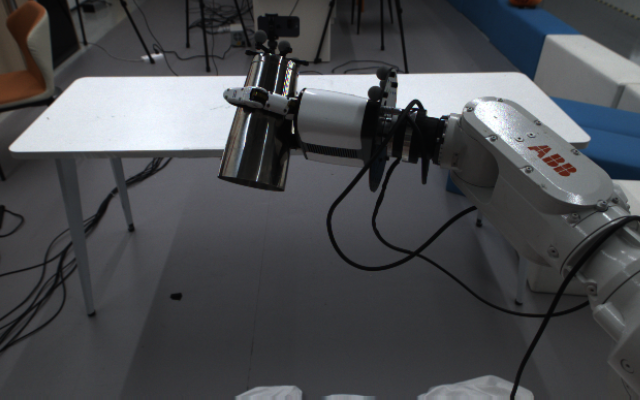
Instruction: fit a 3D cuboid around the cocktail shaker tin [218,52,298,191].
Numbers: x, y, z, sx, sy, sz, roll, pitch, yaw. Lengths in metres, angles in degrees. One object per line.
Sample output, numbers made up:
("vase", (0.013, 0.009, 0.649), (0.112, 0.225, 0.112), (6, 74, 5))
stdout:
("cocktail shaker tin", (-0.076, -0.104, 0.654), (0.093, 0.170, 0.093), (11, -5, 1))
